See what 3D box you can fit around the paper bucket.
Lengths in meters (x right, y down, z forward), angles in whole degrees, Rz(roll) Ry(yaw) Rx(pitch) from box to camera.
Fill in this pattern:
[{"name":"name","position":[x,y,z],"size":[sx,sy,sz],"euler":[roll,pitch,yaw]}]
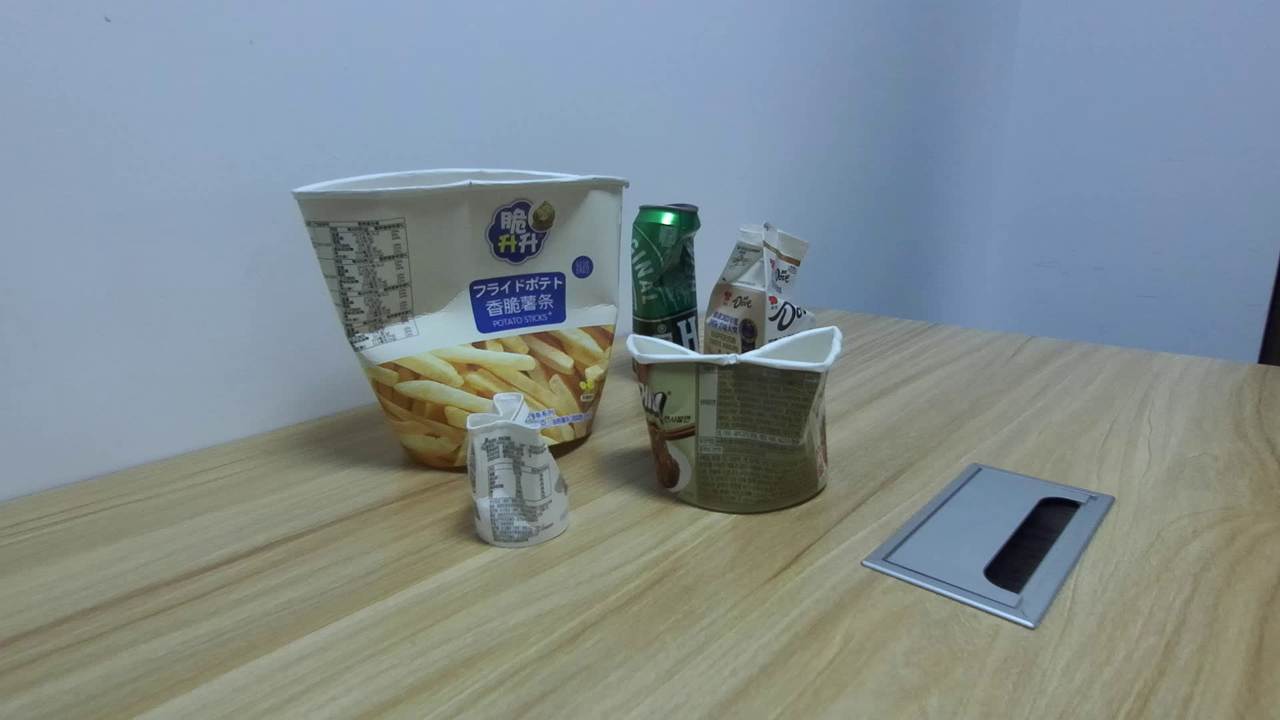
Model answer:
[{"name":"paper bucket","position":[-0.107,-0.037,0.522],"size":[0.147,0.199,0.218],"euler":[7,19,25]}]

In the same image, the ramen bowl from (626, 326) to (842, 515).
[{"name":"ramen bowl","position":[0.058,0.030,0.452],"size":[0.128,0.093,0.112],"euler":[3,17,15]}]

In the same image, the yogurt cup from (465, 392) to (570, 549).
[{"name":"yogurt cup","position":[-0.070,0.061,0.400],"size":[0.055,0.072,0.055],"euler":[0,17,12]}]

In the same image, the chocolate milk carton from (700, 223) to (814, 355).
[{"name":"chocolate milk carton","position":[0.101,-0.038,0.580],"size":[0.076,0.155,0.073],"euler":[-13,22,-38]}]
